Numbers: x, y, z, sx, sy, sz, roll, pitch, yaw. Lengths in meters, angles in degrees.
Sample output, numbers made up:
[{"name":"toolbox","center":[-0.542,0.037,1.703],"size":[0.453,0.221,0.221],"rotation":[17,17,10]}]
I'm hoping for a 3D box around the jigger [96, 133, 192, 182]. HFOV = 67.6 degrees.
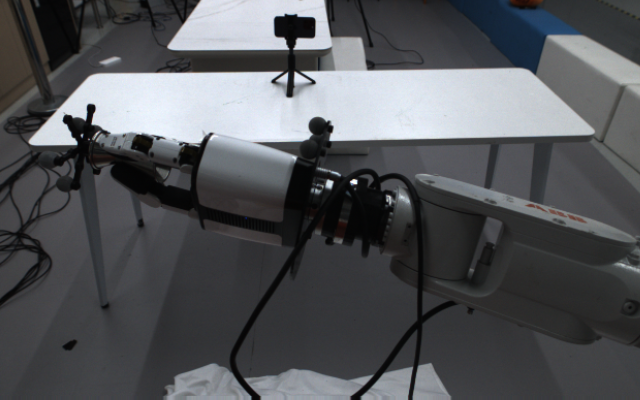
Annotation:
[{"name":"jigger","center":[-0.181,-0.048,0.486],"size":[0.071,0.043,0.043],"rotation":[10,35,3]}]
